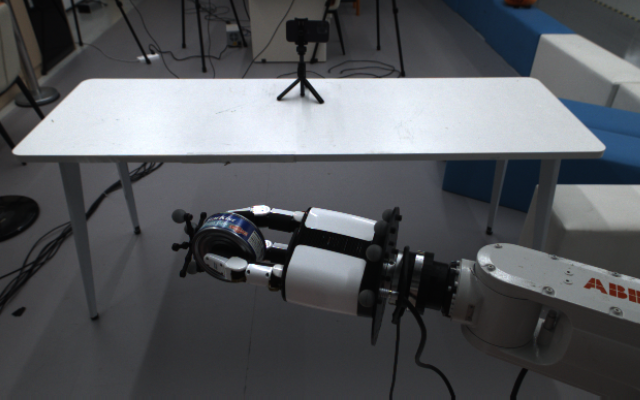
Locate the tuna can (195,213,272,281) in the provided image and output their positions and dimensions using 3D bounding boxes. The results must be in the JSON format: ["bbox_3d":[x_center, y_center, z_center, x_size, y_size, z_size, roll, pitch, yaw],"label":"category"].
[{"bbox_3d":[-0.109,0.057,0.590,0.085,0.085,0.034,9,33,10],"label":"tuna can"}]
